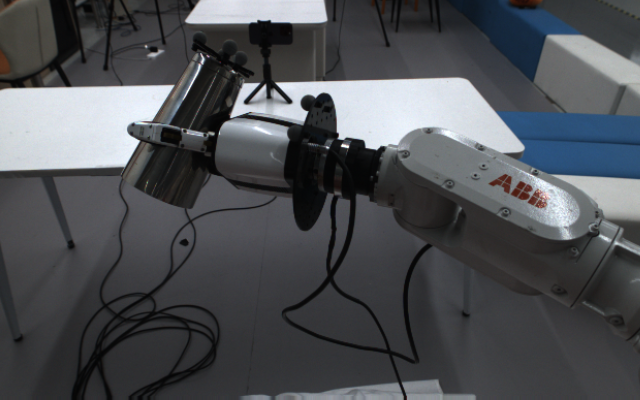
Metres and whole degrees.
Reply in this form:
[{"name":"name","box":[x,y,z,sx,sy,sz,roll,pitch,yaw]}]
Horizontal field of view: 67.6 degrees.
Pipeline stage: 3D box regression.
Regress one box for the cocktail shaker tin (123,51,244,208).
[{"name":"cocktail shaker tin","box":[-0.159,-0.088,0.586,0.093,0.170,0.093,28,2,-1]}]
